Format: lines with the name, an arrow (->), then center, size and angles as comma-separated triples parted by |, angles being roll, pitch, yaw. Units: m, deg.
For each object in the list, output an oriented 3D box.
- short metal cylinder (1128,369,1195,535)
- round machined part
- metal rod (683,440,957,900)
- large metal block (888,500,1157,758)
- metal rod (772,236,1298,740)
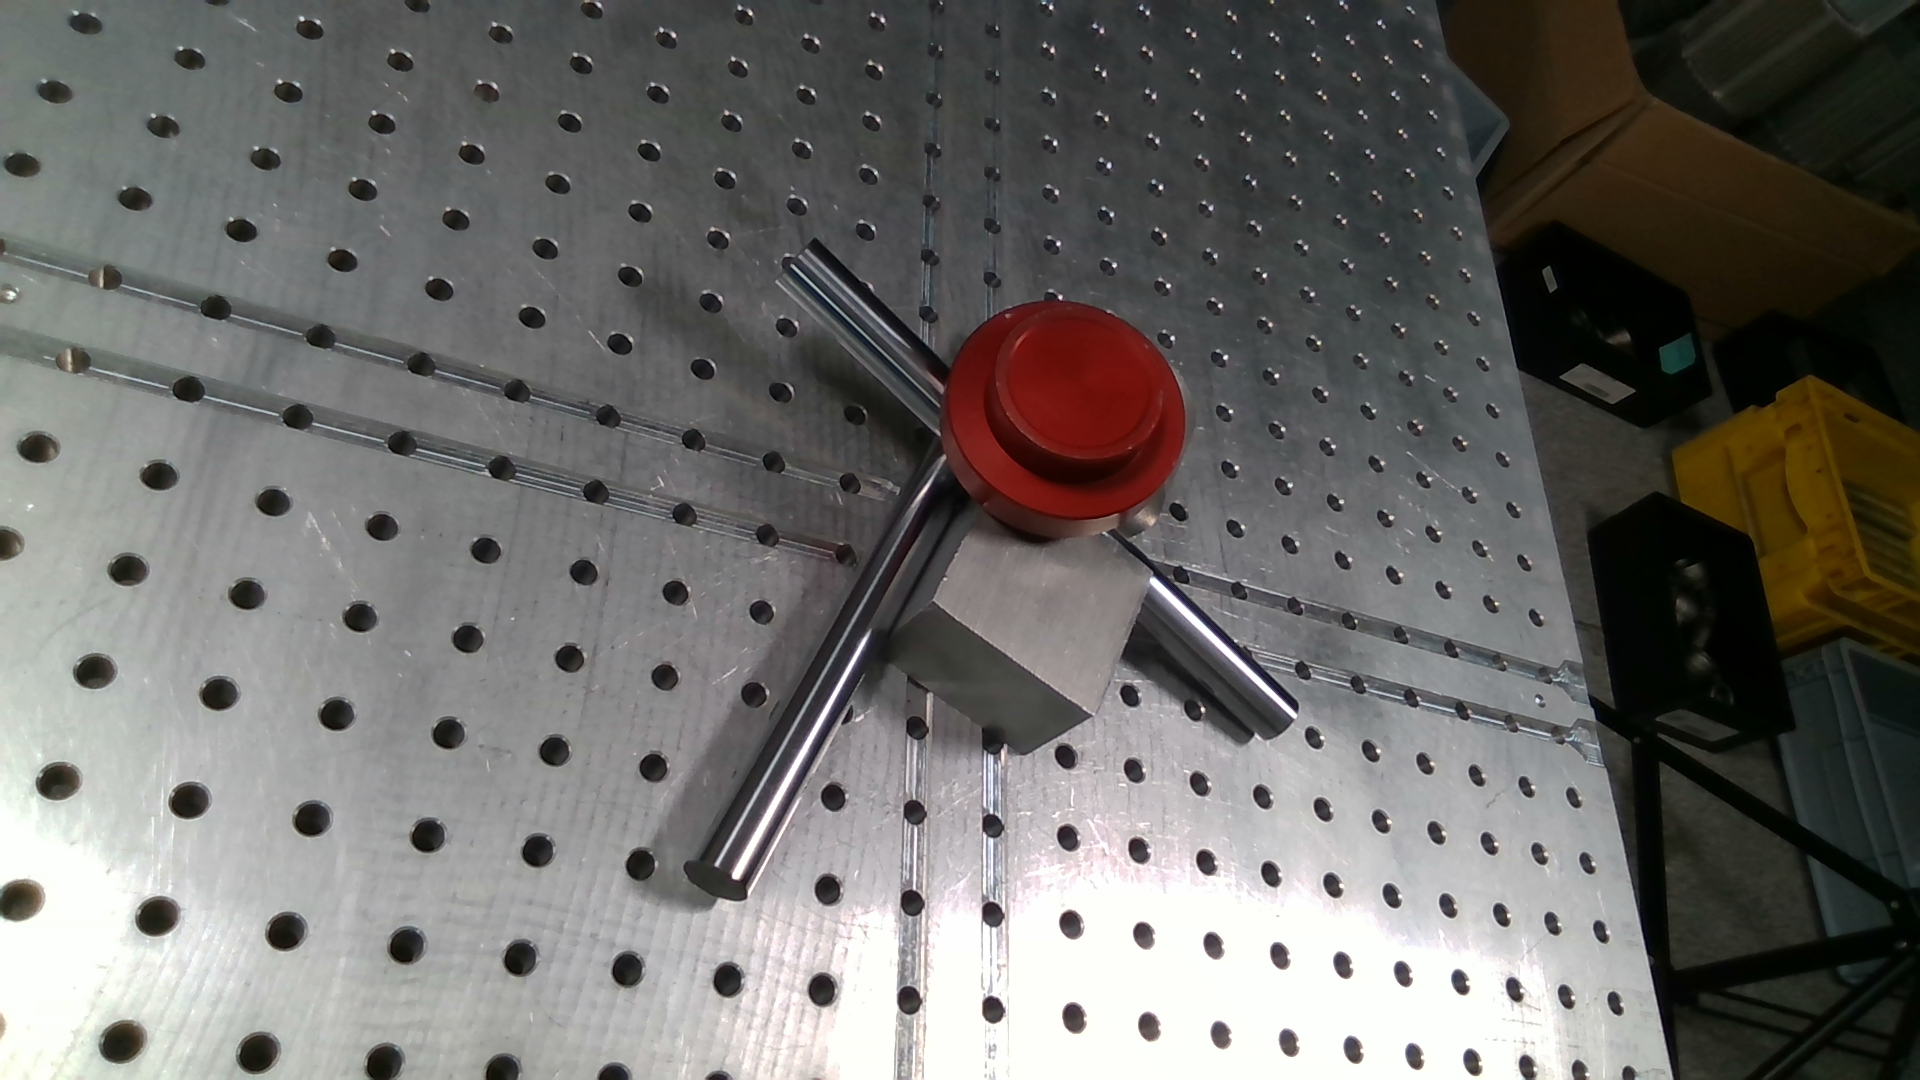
short metal cylinder -> 0.060, -0.046, 0.614 | 0.080, 0.080, 0.050 | 36, 52, -11
round machined part -> 0.043, -0.054, 0.549 | 0.098, 0.042, 0.098 | 3, 68, -8
metal rod -> -0.029, 0.011, 0.564 | 0.025, 0.025, 0.299 | 36, 52, -11
large metal block -> 0.024, 0.029, 0.568 | 0.080, 0.050, 0.080 | 36, 52, -10
metal rod -> 0.039, -0.016, 0.597 | 0.300, 0.025, 0.025 | 43, 51, -15
